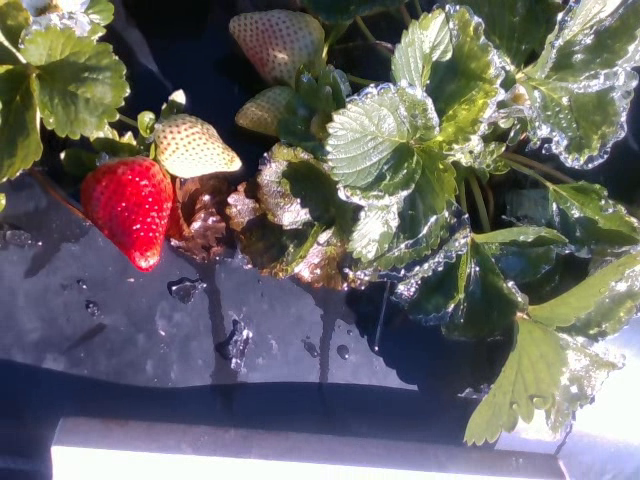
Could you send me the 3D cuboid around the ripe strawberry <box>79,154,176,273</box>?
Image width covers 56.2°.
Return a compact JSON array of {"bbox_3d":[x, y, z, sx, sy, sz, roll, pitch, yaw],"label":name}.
[{"bbox_3d":[-0.076,-0.008,0.242,0.040,0.053,0.042,-24,-30,8],"label":"ripe strawberry"}]
